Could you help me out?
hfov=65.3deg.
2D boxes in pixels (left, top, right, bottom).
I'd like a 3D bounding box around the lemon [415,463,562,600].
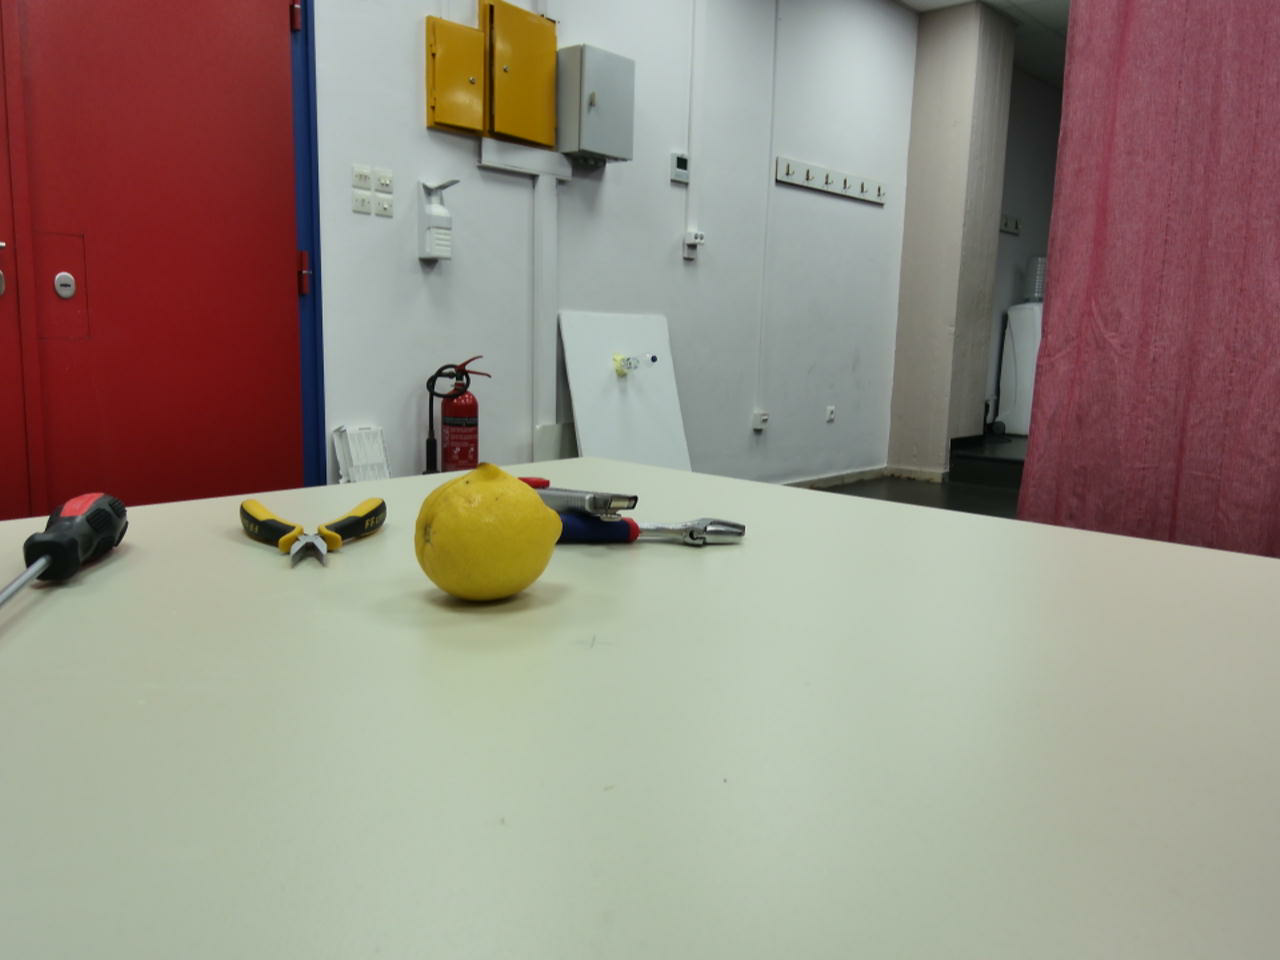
[{"bbox_3d":[-0.081,0.026,0.519,0.071,0.071,0.070,1,7,8],"label":"lemon"}]
